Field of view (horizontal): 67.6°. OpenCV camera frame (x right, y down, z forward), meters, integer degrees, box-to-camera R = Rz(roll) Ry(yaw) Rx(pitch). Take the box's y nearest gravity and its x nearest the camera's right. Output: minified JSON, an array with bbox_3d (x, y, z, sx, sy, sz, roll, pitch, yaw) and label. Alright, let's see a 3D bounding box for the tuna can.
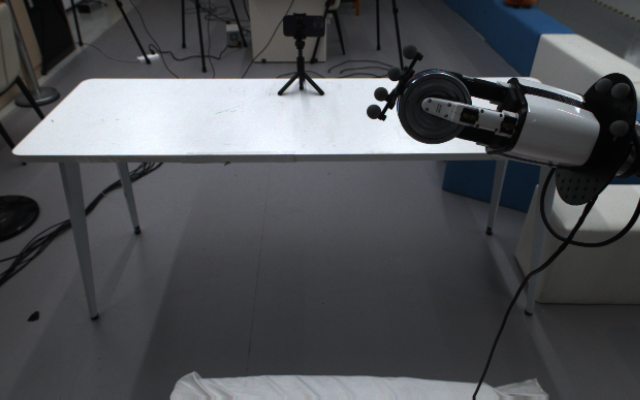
[{"bbox_3d":[0.138,-0.114,0.581,0.085,0.085,0.034,3,20,1],"label":"tuna can"}]
